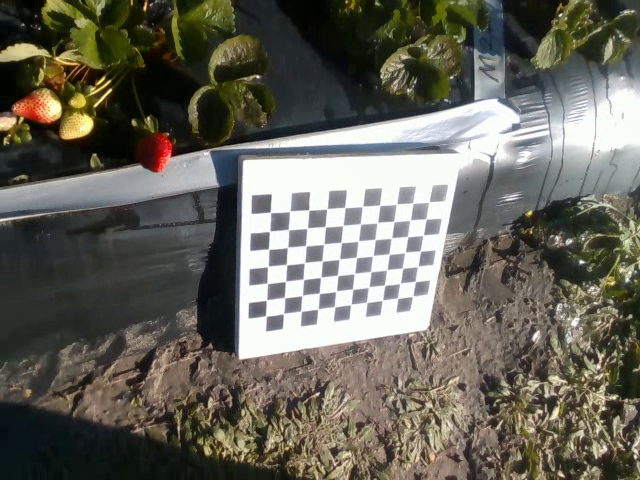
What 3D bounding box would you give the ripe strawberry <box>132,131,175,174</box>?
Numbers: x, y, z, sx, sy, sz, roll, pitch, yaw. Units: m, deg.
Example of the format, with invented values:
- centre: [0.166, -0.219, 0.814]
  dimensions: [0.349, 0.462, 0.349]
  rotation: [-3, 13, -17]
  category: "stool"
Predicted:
- centre: [-0.144, -0.072, 0.479]
  dimensions: [0.036, 0.038, 0.046]
  rotation: [-5, 40, -16]
  category: "ripe strawberry"
